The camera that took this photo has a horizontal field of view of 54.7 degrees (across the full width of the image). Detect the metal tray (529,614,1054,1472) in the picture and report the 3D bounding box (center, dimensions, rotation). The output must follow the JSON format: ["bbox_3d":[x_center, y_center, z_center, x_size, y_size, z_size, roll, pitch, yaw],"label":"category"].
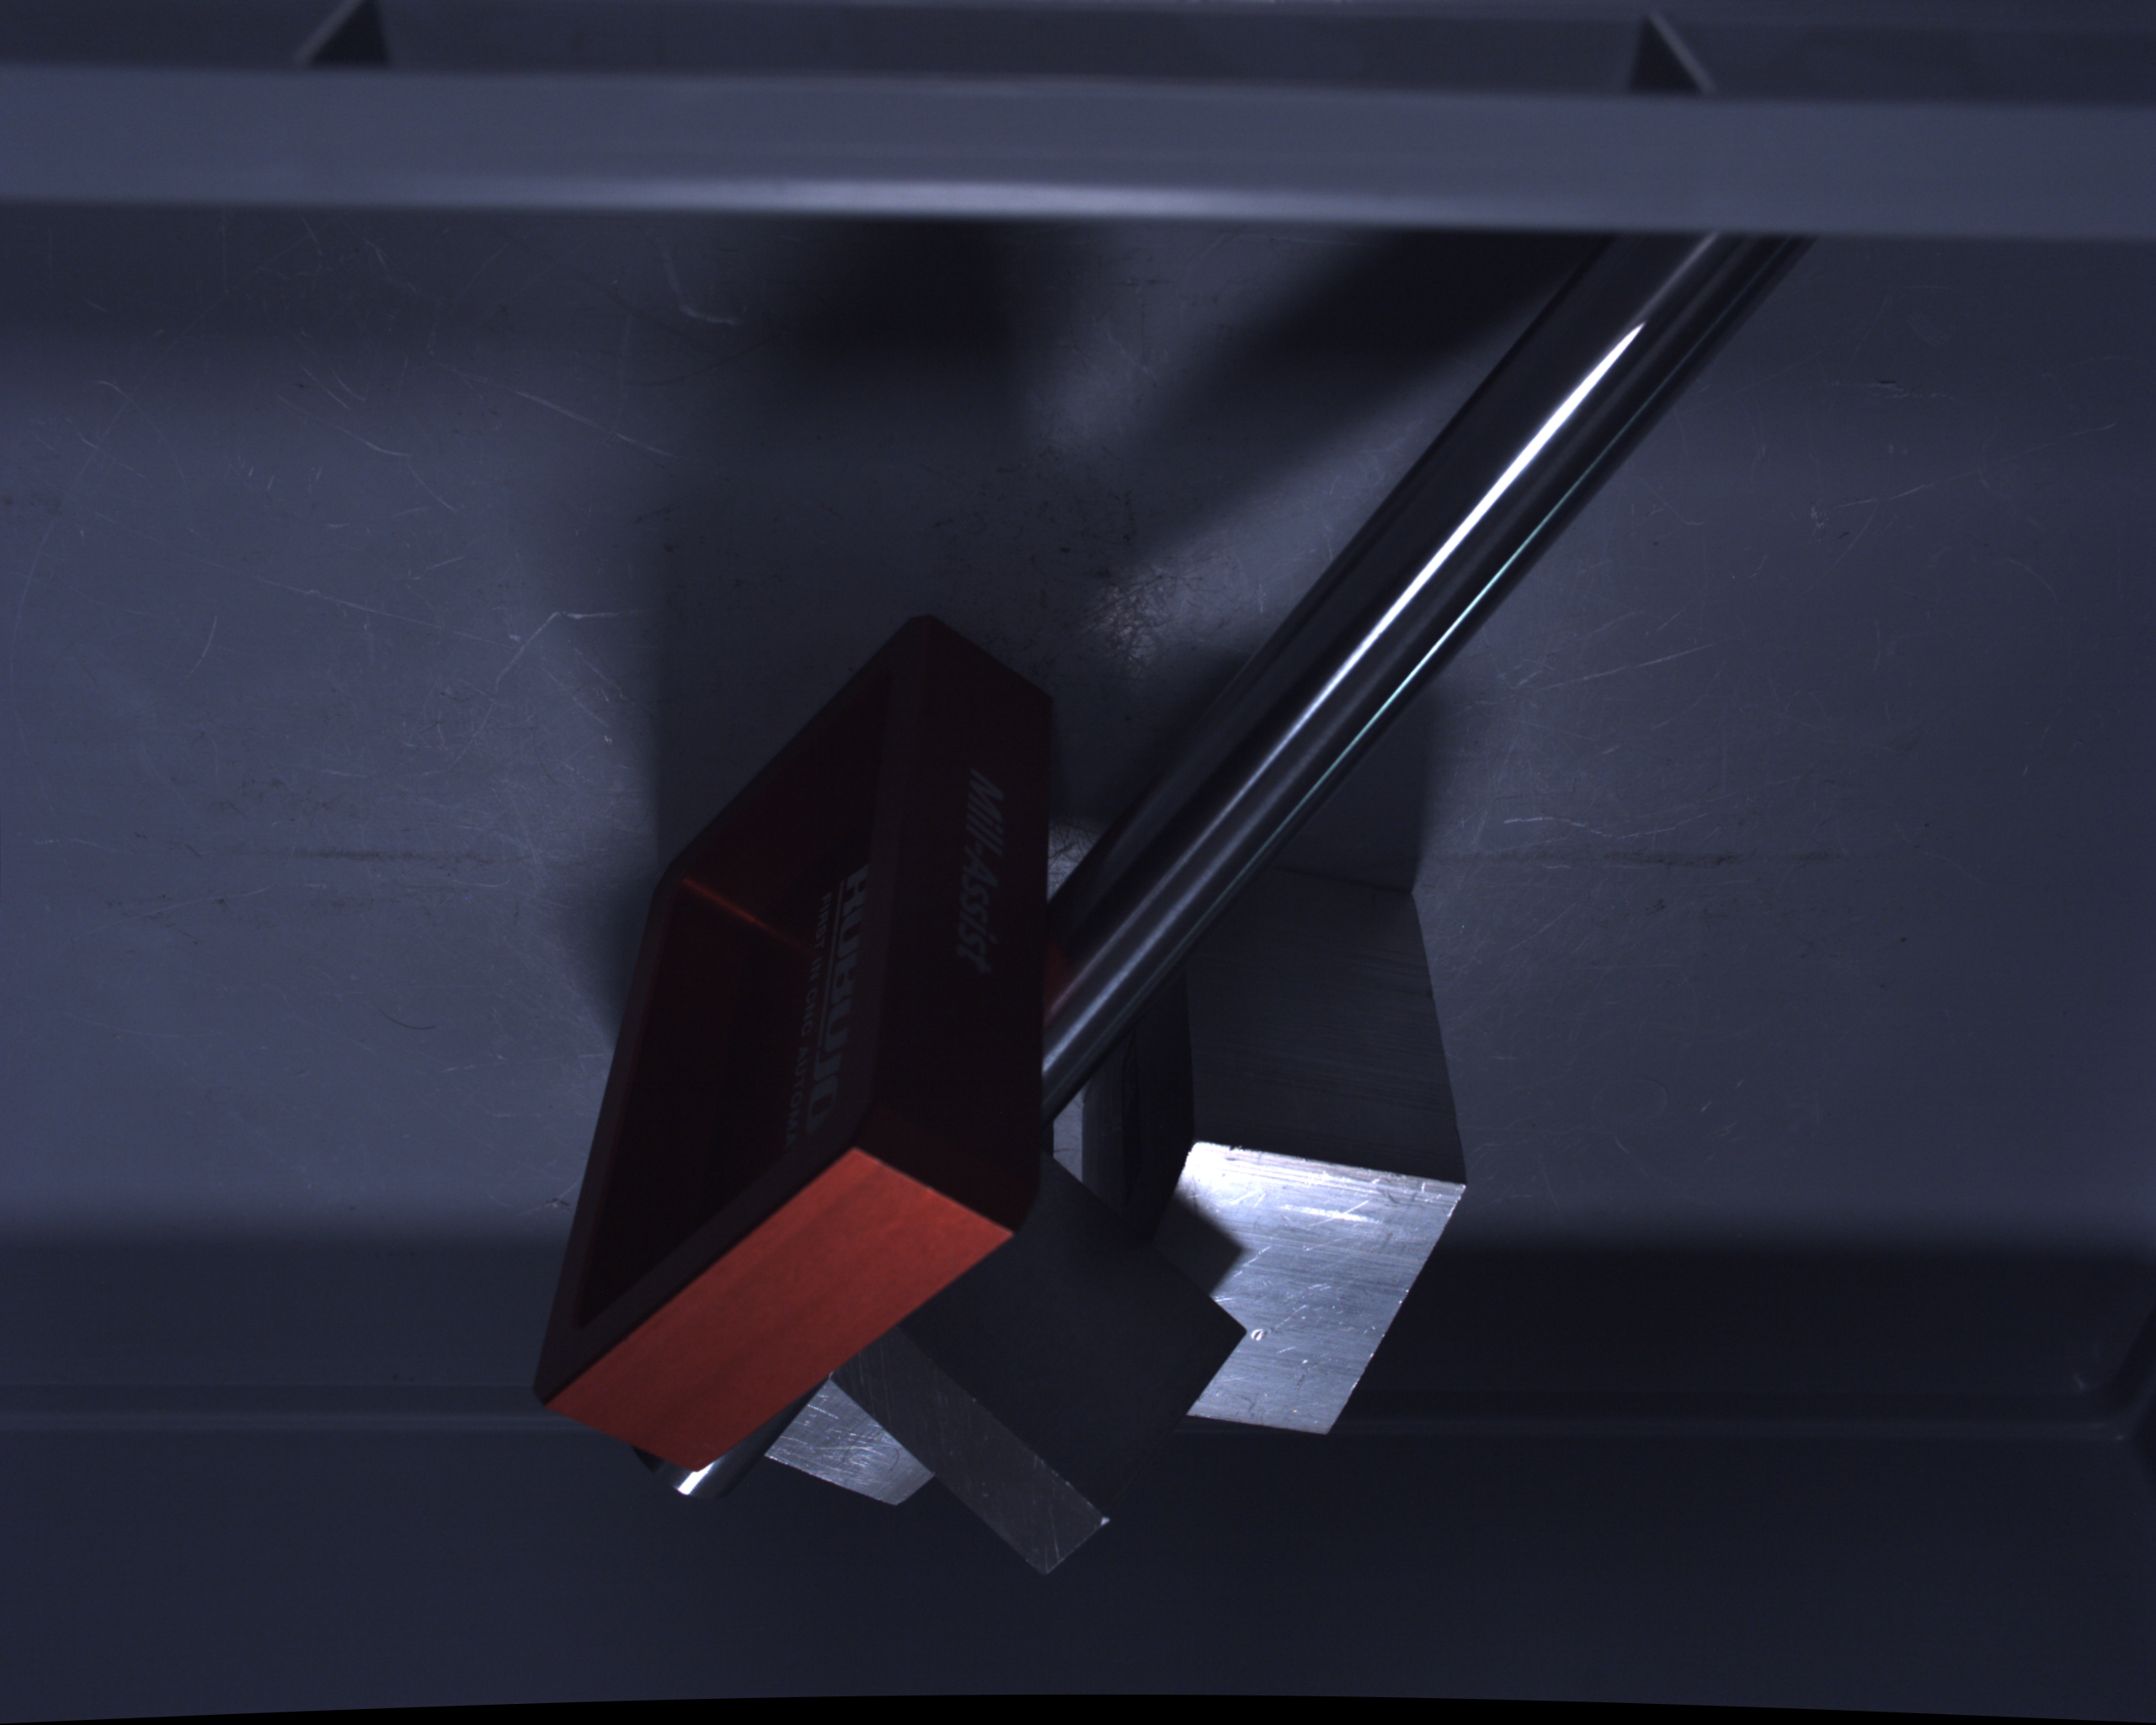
[{"bbox_3d":[-0.046,0.026,0.360,0.030,0.130,0.090,34,123,-24],"label":"metal tray"}]

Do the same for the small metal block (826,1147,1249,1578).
[{"bbox_3d":[-0.006,0.087,0.367,0.050,0.050,0.025,42,133,6],"label":"small metal block"}]

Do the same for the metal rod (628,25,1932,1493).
[{"bbox_3d":[0.022,-0.006,0.344,0.025,0.025,0.299,34,105,-26],"label":"metal rod"}]

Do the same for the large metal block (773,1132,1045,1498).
[{"bbox_3d":[-0.054,0.073,0.434,0.080,0.080,0.050,29,124,-23],"label":"large metal block"}]

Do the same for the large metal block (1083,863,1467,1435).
[{"bbox_3d":[0.035,0.055,0.420,0.050,0.080,0.079,10,129,-9],"label":"large metal block"}]
